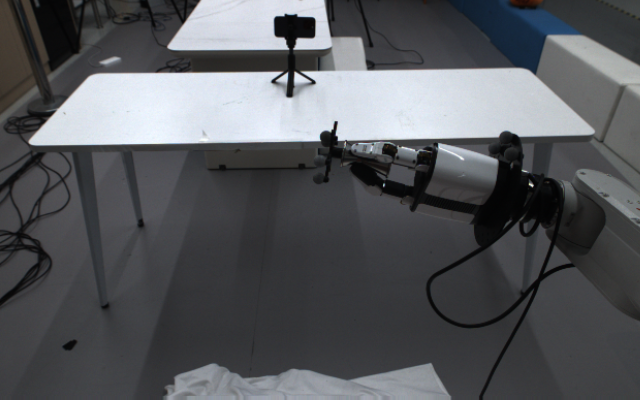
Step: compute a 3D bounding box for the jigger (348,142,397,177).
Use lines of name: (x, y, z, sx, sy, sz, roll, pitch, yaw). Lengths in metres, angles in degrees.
jigger: (0.072, -0.063, 0.677, 0.071, 0.043, 0.043, 11, 35, 3)
